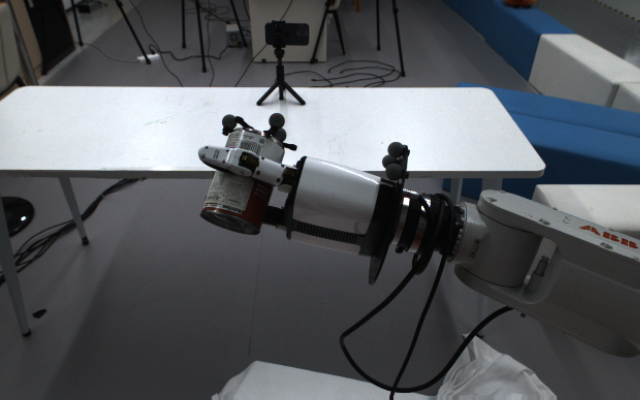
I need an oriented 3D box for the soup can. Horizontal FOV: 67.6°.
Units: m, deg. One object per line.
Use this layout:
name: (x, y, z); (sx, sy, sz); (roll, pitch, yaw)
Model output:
soup can: (-0.083, -0.020, 0.538); (0.067, 0.067, 0.101); (11, 72, 13)
